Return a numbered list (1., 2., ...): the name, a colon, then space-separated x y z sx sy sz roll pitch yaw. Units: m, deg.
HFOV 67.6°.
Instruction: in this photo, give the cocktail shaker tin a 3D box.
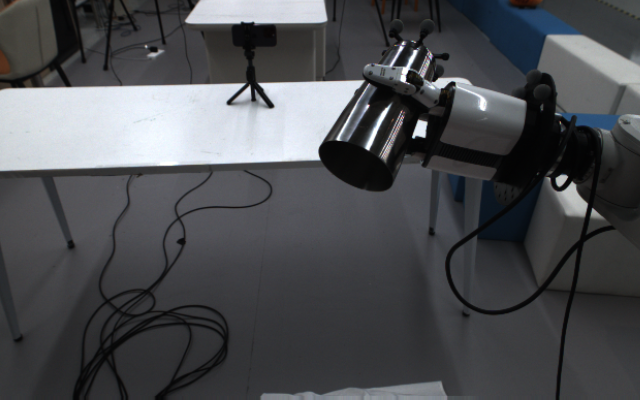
1. cocktail shaker tin: 0.080 -0.109 0.568 0.093 0.093 0.170 18 66 21
